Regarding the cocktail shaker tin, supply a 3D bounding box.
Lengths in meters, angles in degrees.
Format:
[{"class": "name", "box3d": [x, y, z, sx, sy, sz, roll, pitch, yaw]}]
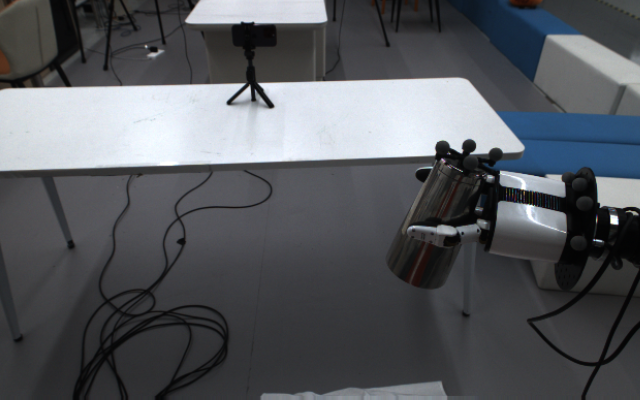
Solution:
[{"class": "cocktail shaker tin", "box3d": [0.162, 0.023, 0.654, 0.093, 0.170, 0.093, 12, 29, -7]}]
